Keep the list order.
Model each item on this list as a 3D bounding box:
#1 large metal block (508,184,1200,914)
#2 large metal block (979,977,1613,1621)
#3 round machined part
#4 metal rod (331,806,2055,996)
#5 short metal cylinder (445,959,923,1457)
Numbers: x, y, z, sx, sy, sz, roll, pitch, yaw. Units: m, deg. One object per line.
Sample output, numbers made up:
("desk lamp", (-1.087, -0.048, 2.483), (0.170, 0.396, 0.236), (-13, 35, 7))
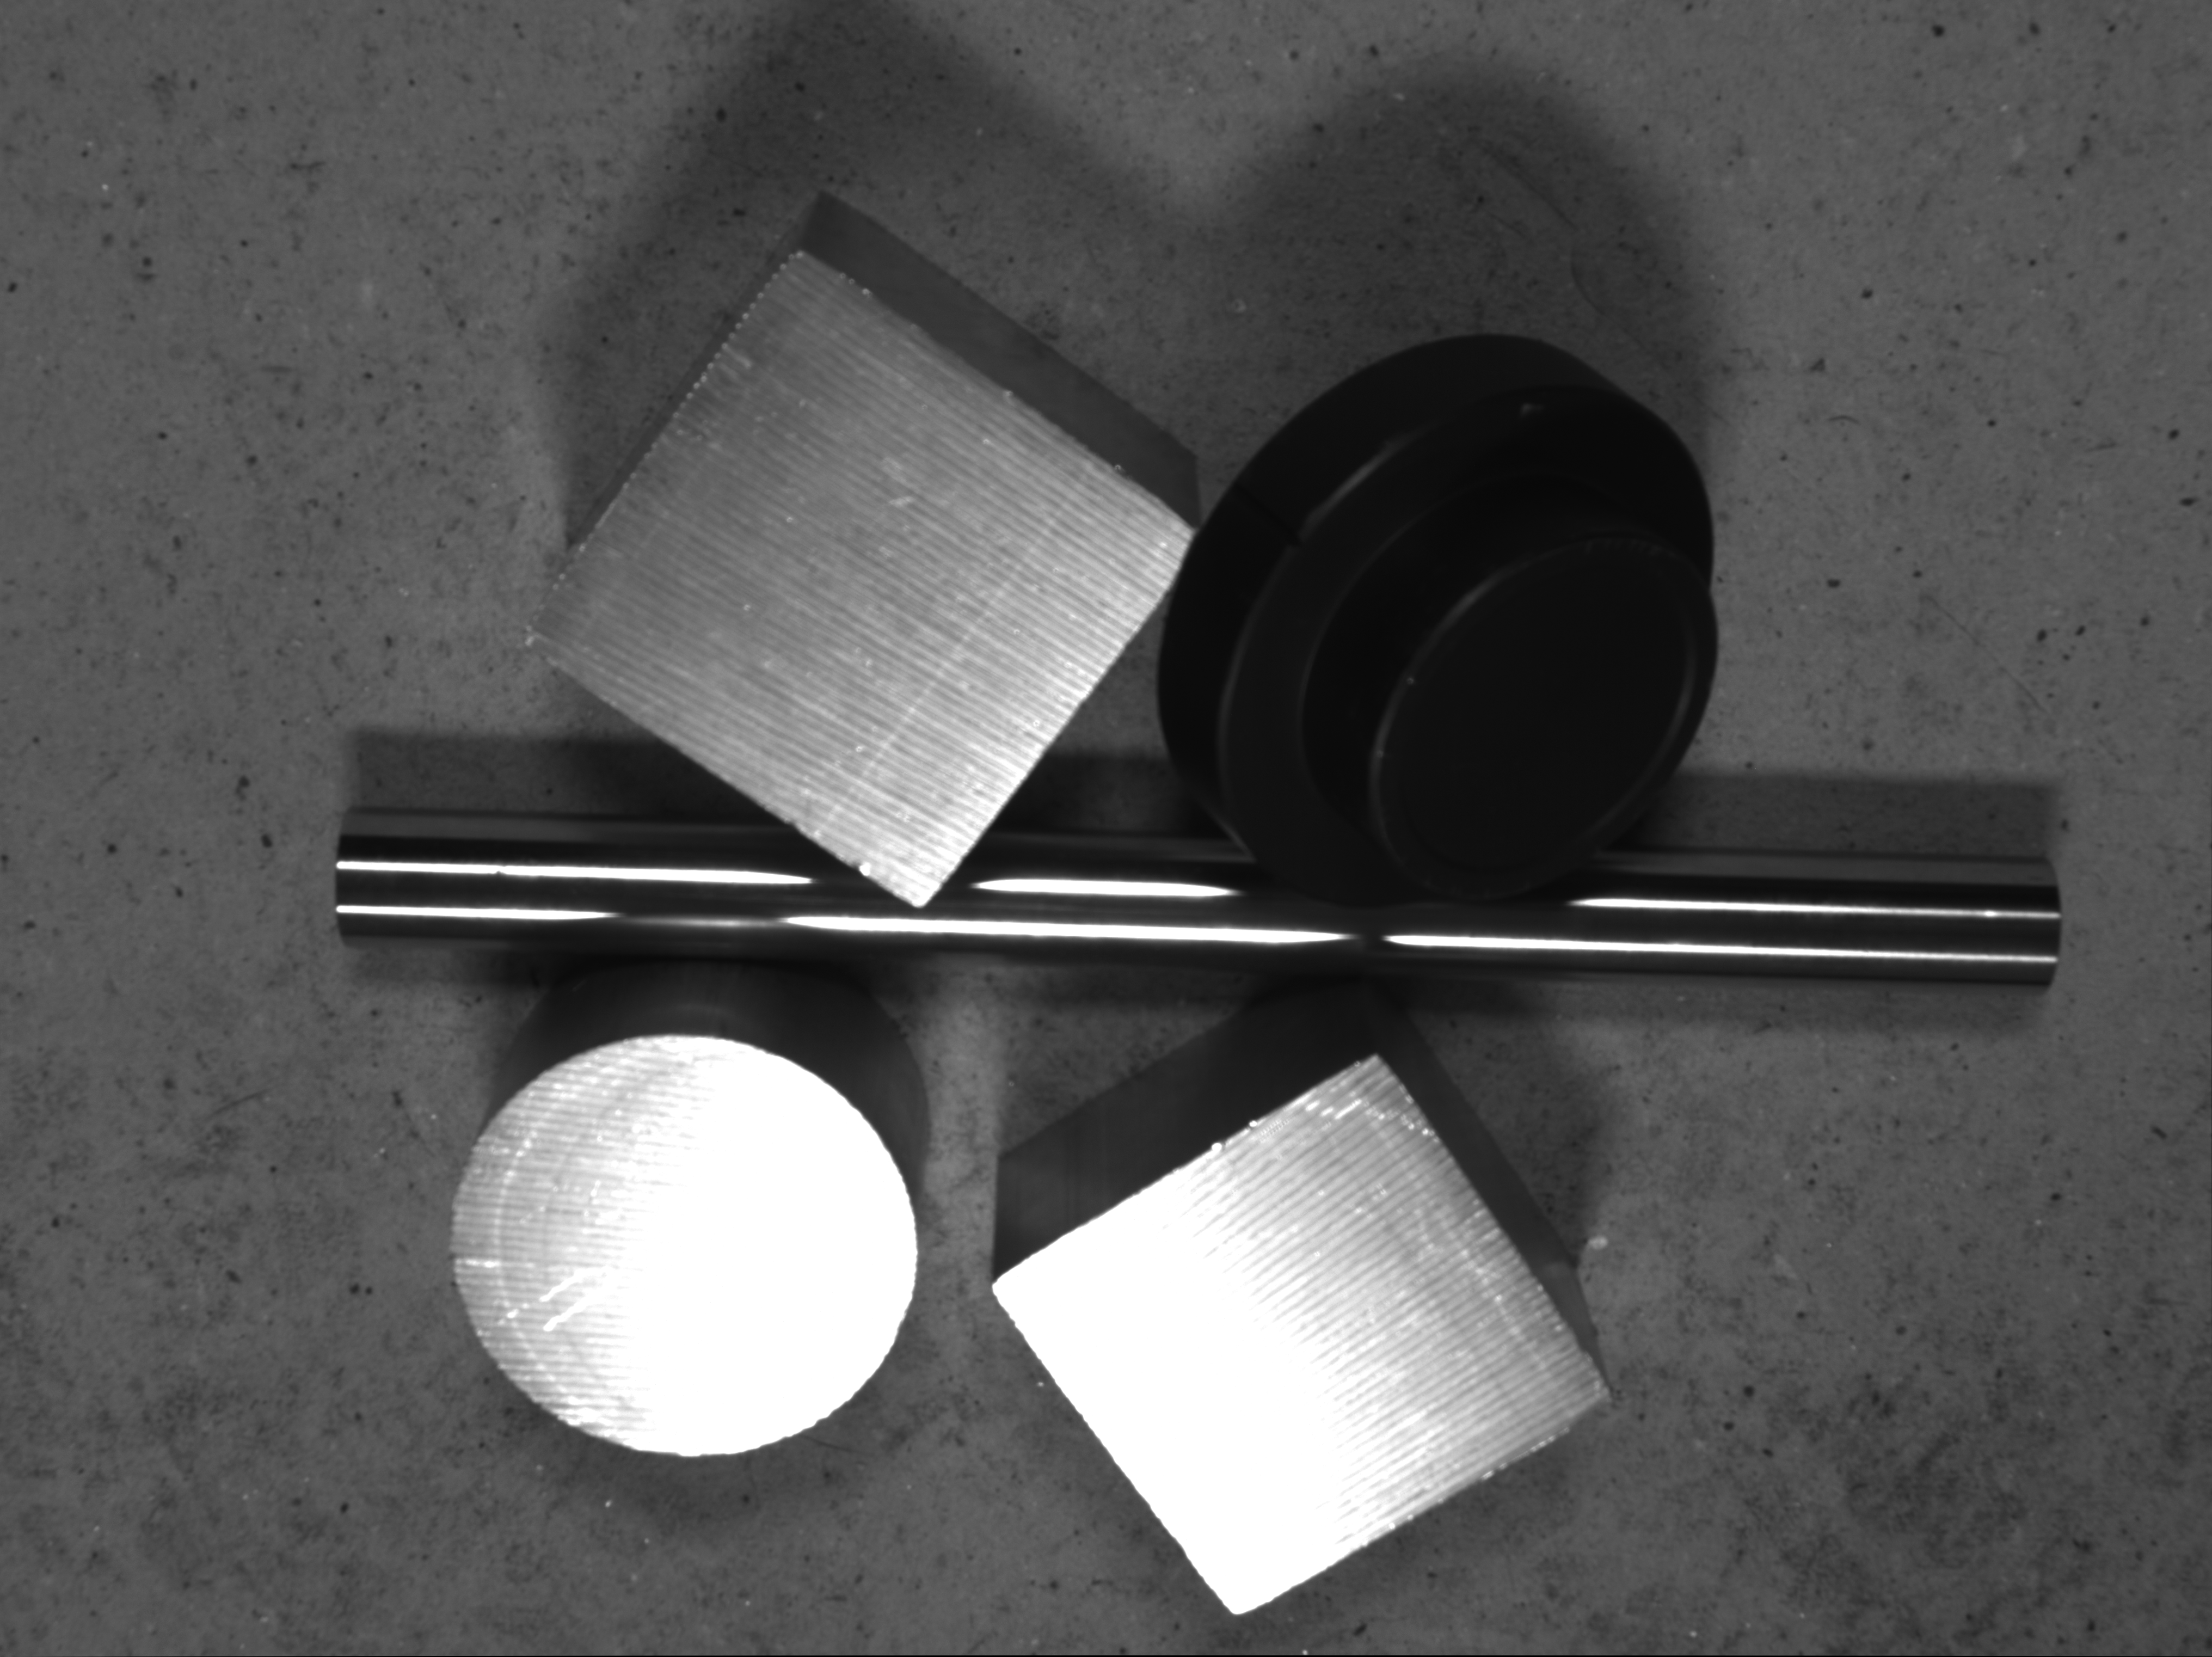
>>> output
("large metal block", (-0.040, -0.047, 0.610), (0.080, 0.050, 0.080), (35, 106, -12))
("large metal block", (0.033, 0.081, 0.660), (0.080, 0.050, 0.080), (-32, 107, 10))
("round machined part", (0.059, -0.028, 0.600), (0.098, 0.042, 0.098), (-17, 129, -22))
("metal rod", (0.016, 0.013, 0.649), (0.300, 0.025, 0.025), (2, 110, -1))
("short metal cylinder", (-0.073, 0.064, 0.652), (0.080, 0.050, 0.080), (0, 110, -1))
